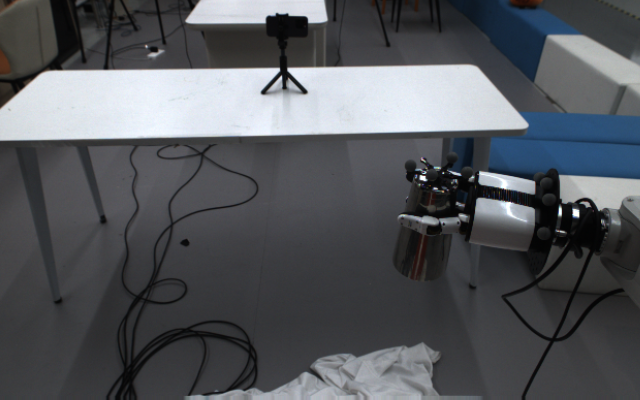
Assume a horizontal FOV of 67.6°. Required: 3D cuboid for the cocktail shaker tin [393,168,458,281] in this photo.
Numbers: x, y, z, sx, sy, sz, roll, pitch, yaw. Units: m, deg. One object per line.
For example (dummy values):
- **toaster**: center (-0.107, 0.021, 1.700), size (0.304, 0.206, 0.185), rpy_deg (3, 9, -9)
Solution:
- **cocktail shaker tin**: center (0.173, 0.032, 0.766), size (0.093, 0.170, 0.093), rpy_deg (1, 39, -1)
